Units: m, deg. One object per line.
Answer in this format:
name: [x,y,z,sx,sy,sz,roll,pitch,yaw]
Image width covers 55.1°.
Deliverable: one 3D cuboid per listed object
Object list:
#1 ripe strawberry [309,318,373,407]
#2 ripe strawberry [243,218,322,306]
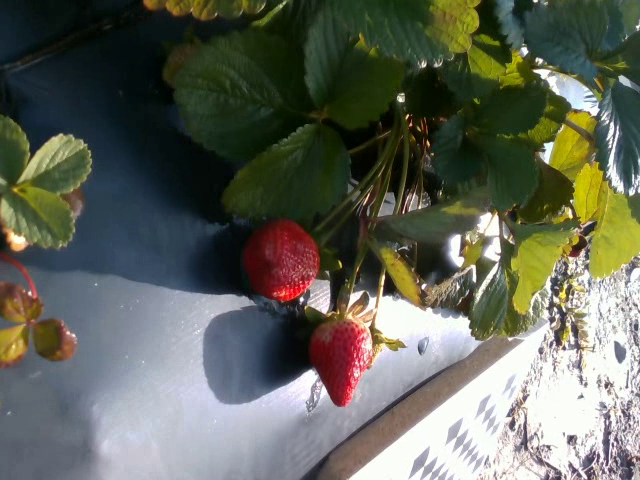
ripe strawberry: [0.015,0.069,0.335,0.038,0.053,0.043,-12,-31,18]
ripe strawberry: [-0.020,0.012,0.311,0.039,0.048,0.054,23,12,11]
